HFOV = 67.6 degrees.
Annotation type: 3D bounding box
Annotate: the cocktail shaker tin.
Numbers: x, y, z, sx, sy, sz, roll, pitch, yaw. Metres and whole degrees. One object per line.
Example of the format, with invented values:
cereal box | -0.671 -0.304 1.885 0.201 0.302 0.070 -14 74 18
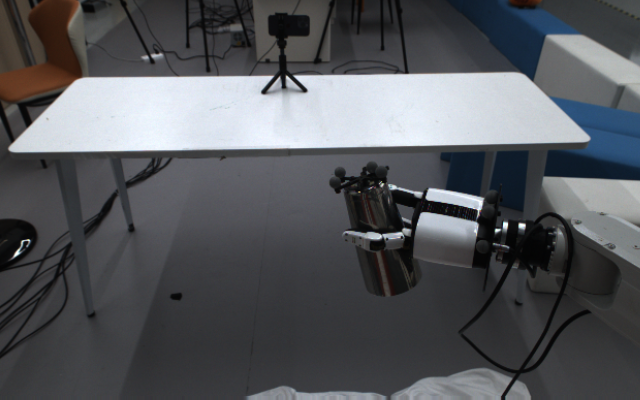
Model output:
cocktail shaker tin | 0.091 0.050 0.740 0.093 0.170 0.093 -17 20 7
